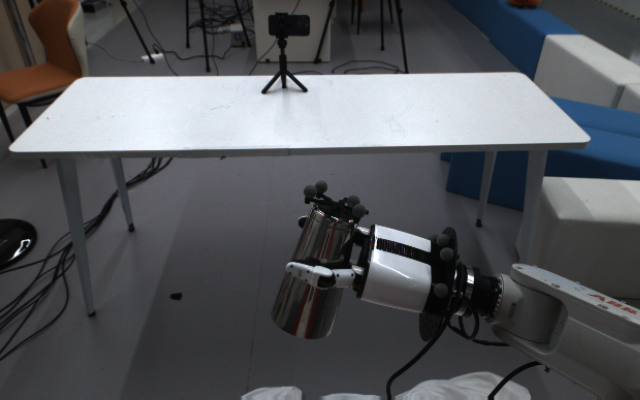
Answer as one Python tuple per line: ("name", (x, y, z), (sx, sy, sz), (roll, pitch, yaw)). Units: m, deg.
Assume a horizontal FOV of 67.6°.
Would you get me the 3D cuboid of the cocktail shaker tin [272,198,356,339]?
("cocktail shaker tin", (-0.003, 0.092, 0.665), (0.093, 0.170, 0.093), (15, 17, -5))
